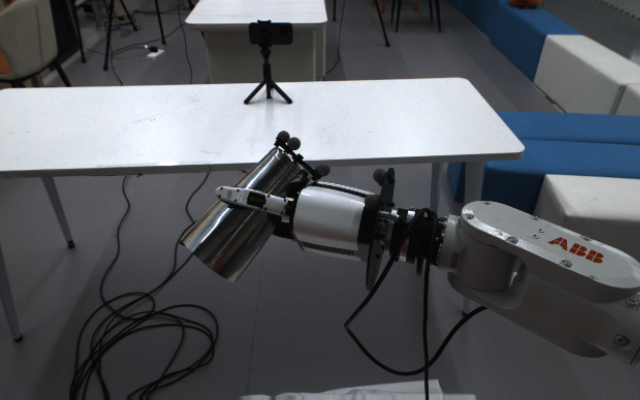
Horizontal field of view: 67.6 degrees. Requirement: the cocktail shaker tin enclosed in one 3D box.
[{"bbox_3d":[-0.090,0.011,0.645,0.170,0.093,0.093,-48,49,-3],"label":"cocktail shaker tin"}]
